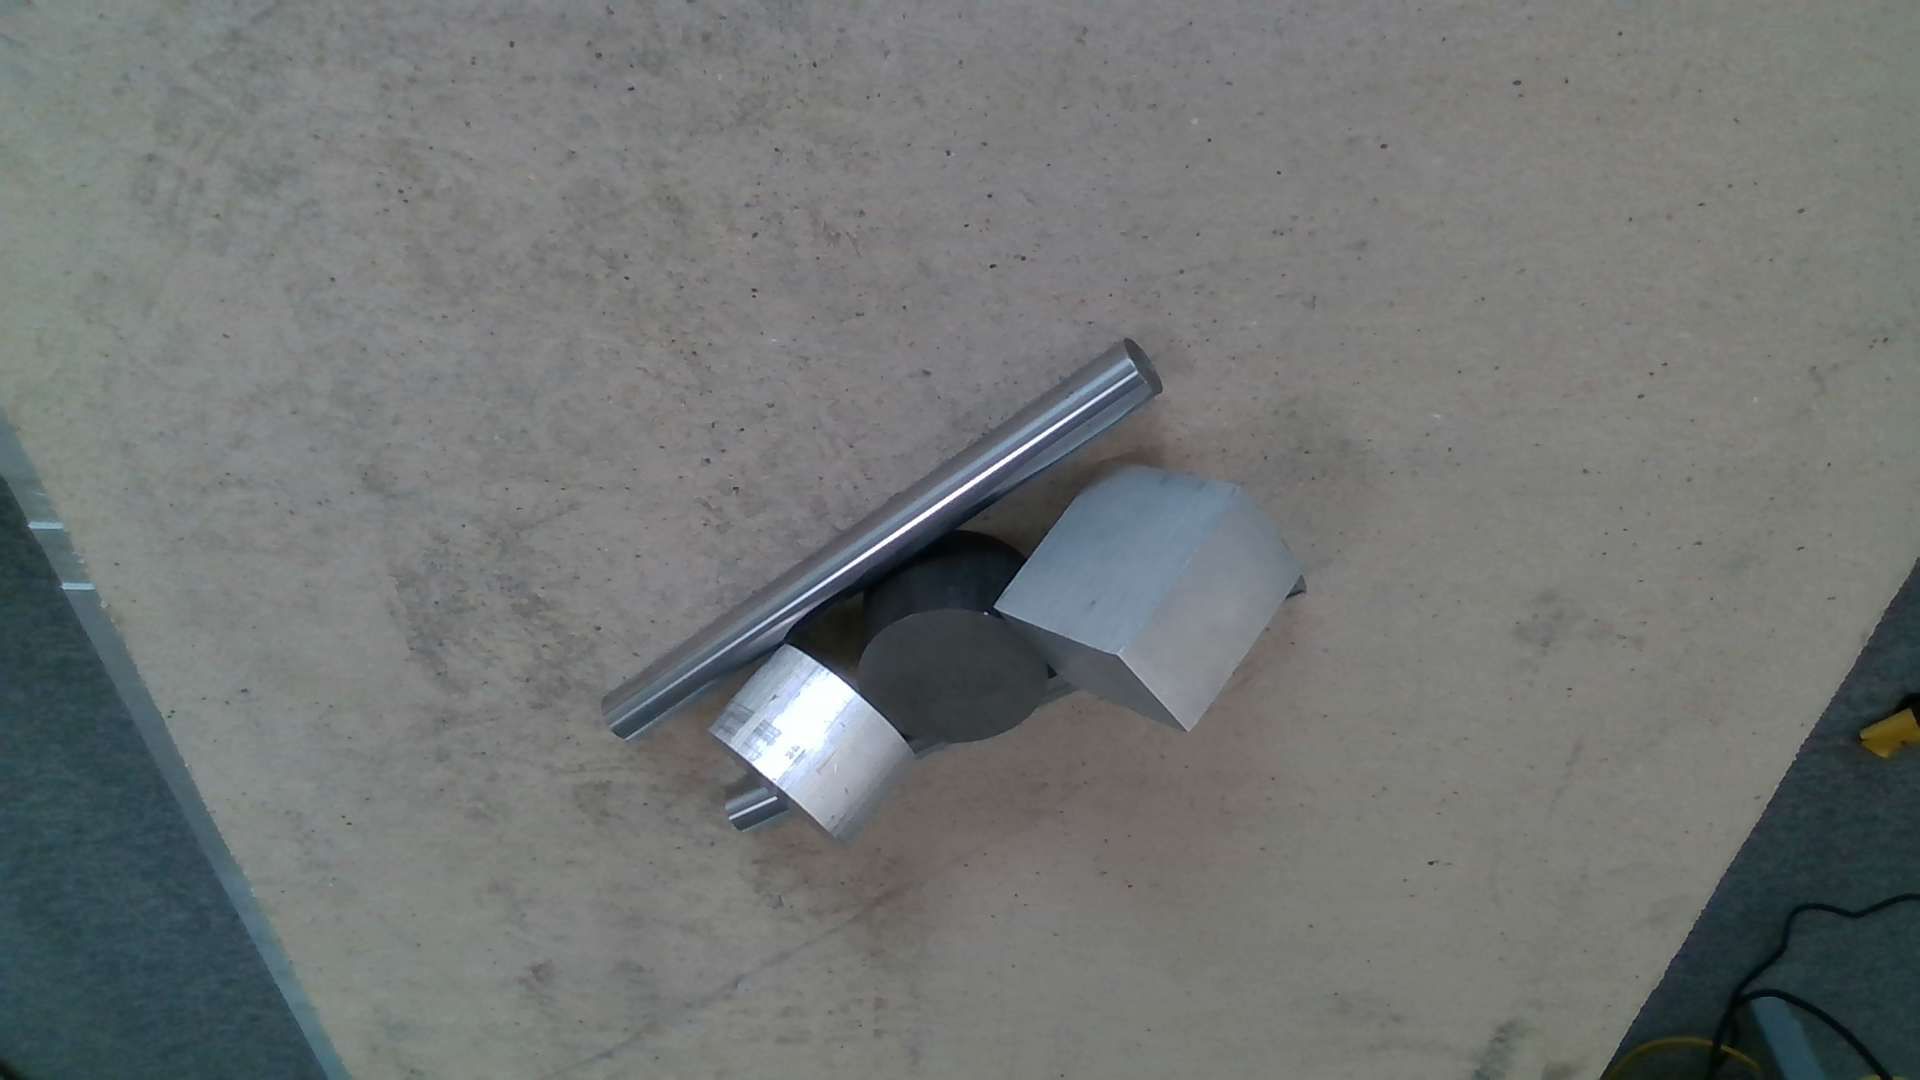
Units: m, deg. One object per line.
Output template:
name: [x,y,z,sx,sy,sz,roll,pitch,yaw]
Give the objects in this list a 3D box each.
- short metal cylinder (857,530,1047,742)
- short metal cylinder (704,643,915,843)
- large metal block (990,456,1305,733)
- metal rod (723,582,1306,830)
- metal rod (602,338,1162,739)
short metal cylinder: [-0.003,0.042,0.599,0.080,0.050,0.080,0,130,0]
short metal cylinder: [-0.067,0.090,0.612,0.050,0.080,0.080,-49,125,-16]
large metal block: [0.072,0.018,0.539,0.080,0.080,0.050,-52,122,-13]
metal rod: [0.016,0.072,0.640,0.300,0.025,0.025,-26,125,20]
metal rod: [-0.045,0.008,0.586,0.300,0.025,0.025,-33,123,25]
